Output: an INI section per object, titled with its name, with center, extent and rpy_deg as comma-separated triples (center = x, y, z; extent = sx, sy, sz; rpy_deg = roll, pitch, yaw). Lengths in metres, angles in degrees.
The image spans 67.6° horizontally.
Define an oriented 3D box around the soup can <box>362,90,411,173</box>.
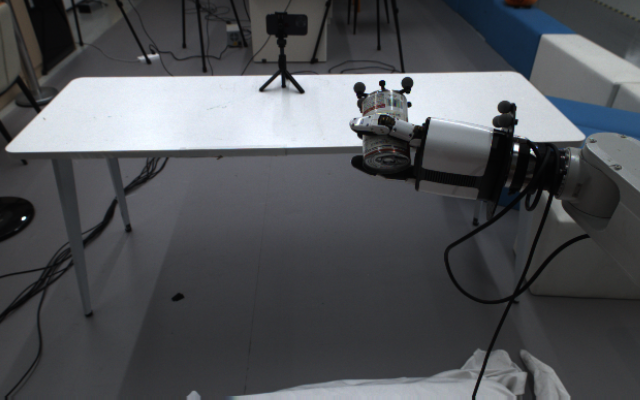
[soup can]
center = 0.094, -0.097, 0.689
extent = 0.067, 0.067, 0.101
rpy_deg = 2, 68, -1
